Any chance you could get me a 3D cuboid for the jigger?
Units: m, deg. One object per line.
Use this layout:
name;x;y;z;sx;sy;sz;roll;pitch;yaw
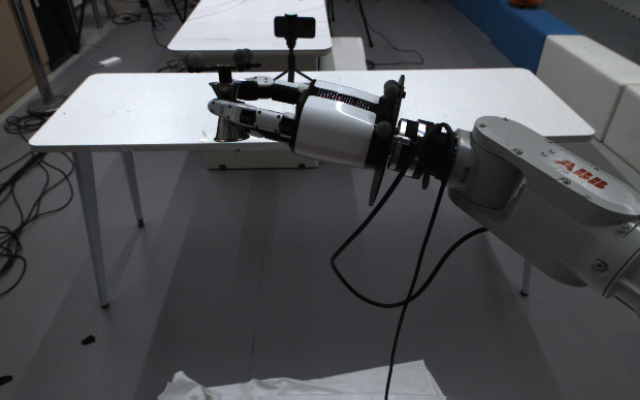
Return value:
jigger;-0.110;-0.107;0.586;0.043;0.071;0.043;-2;19;1
